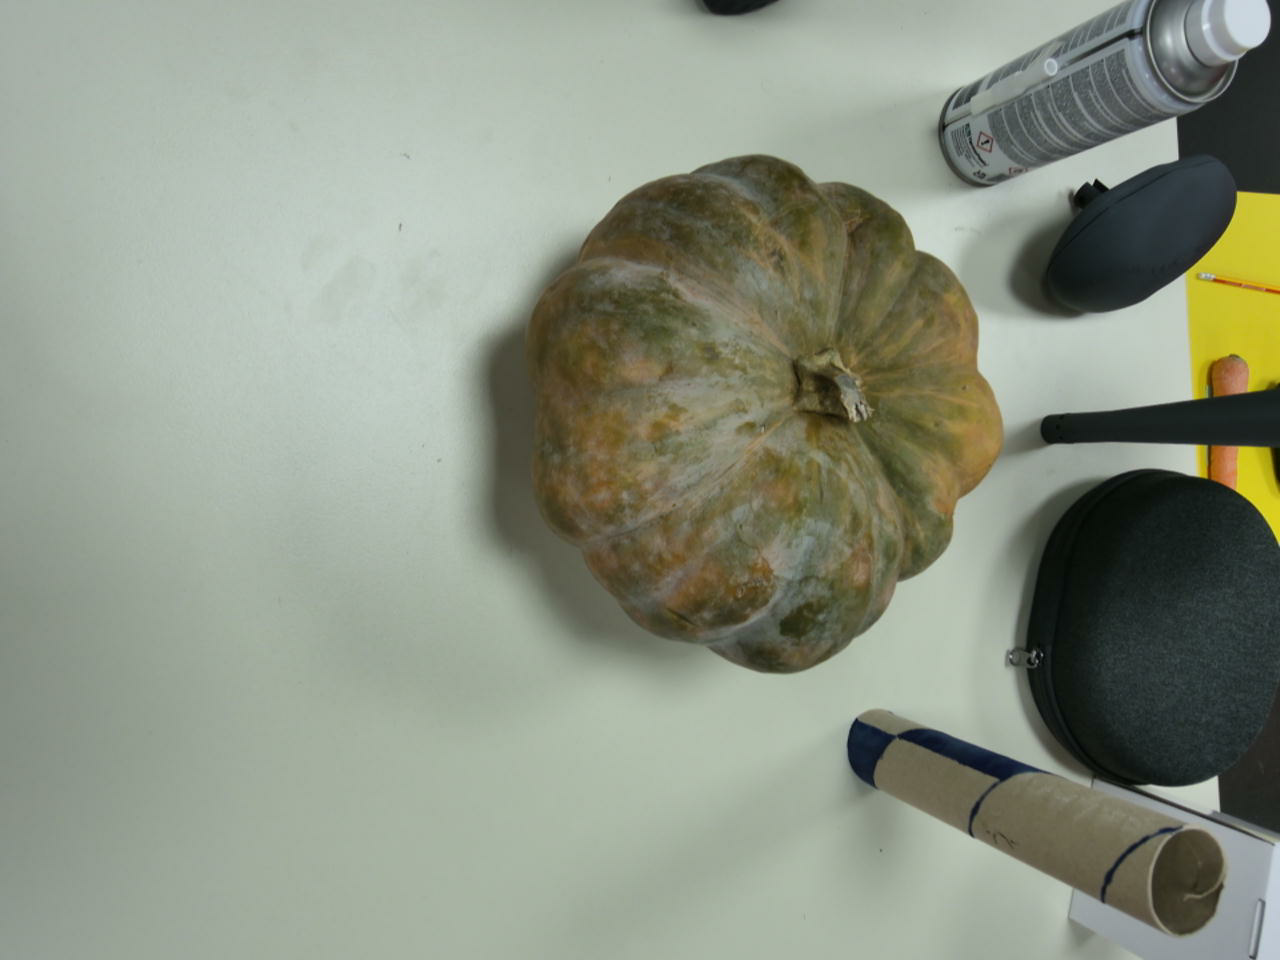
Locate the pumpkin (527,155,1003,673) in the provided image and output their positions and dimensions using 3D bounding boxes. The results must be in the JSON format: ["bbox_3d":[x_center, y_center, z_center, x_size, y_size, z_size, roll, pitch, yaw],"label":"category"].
[{"bbox_3d":[0.061,-0.038,0.506,0.252,0.169,0.252,0,91,-22],"label":"pumpkin"}]
